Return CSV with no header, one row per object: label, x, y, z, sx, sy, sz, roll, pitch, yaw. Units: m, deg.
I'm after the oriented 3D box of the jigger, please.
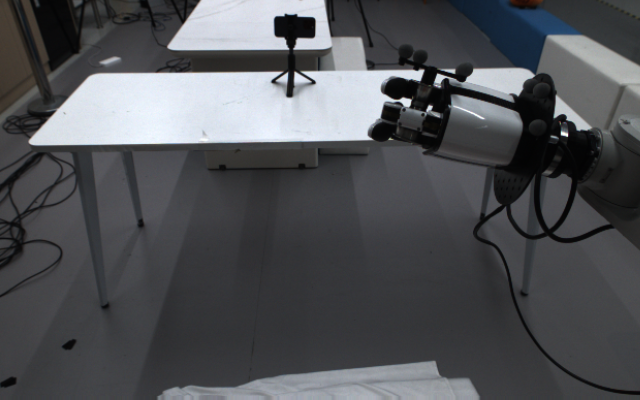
jigger,0.119,-0.106,0.585,0.043,0.071,0.043,15,17,-5
